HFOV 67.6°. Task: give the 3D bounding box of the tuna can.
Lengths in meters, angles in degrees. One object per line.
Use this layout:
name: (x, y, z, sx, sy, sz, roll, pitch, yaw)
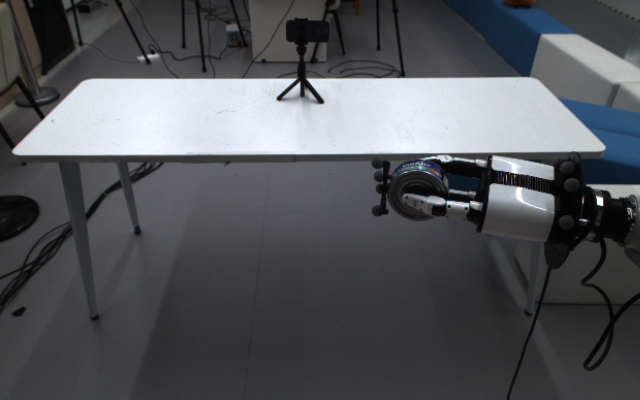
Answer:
tuna can: (0.142, -0.018, 0.689, 0.085, 0.085, 0.034, 9, 32, 10)
